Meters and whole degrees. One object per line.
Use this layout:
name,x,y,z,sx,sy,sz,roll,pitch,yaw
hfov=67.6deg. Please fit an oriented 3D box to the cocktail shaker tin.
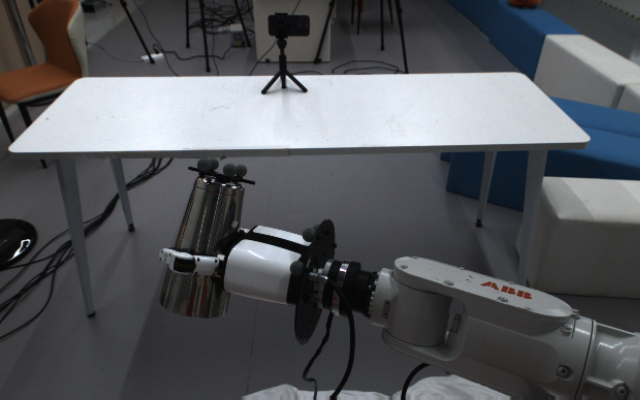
cocktail shaker tin,-0.149,0.059,0.643,0.093,0.170,0.093,13,5,-1
